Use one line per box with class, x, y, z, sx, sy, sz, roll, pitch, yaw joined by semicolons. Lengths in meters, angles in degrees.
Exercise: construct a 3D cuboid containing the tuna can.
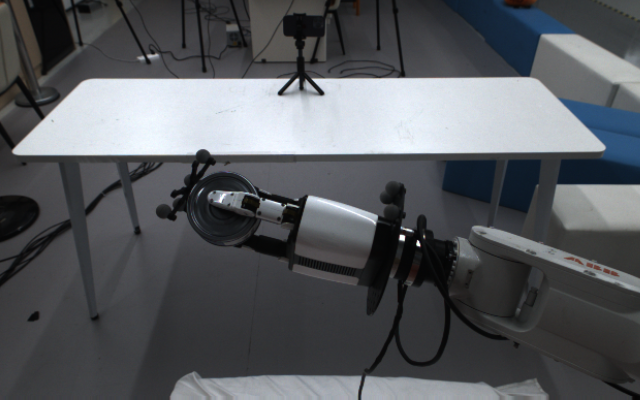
tuna can;-0.108;0.014;0.566;0.085;0.034;0.085;1;77;-5
